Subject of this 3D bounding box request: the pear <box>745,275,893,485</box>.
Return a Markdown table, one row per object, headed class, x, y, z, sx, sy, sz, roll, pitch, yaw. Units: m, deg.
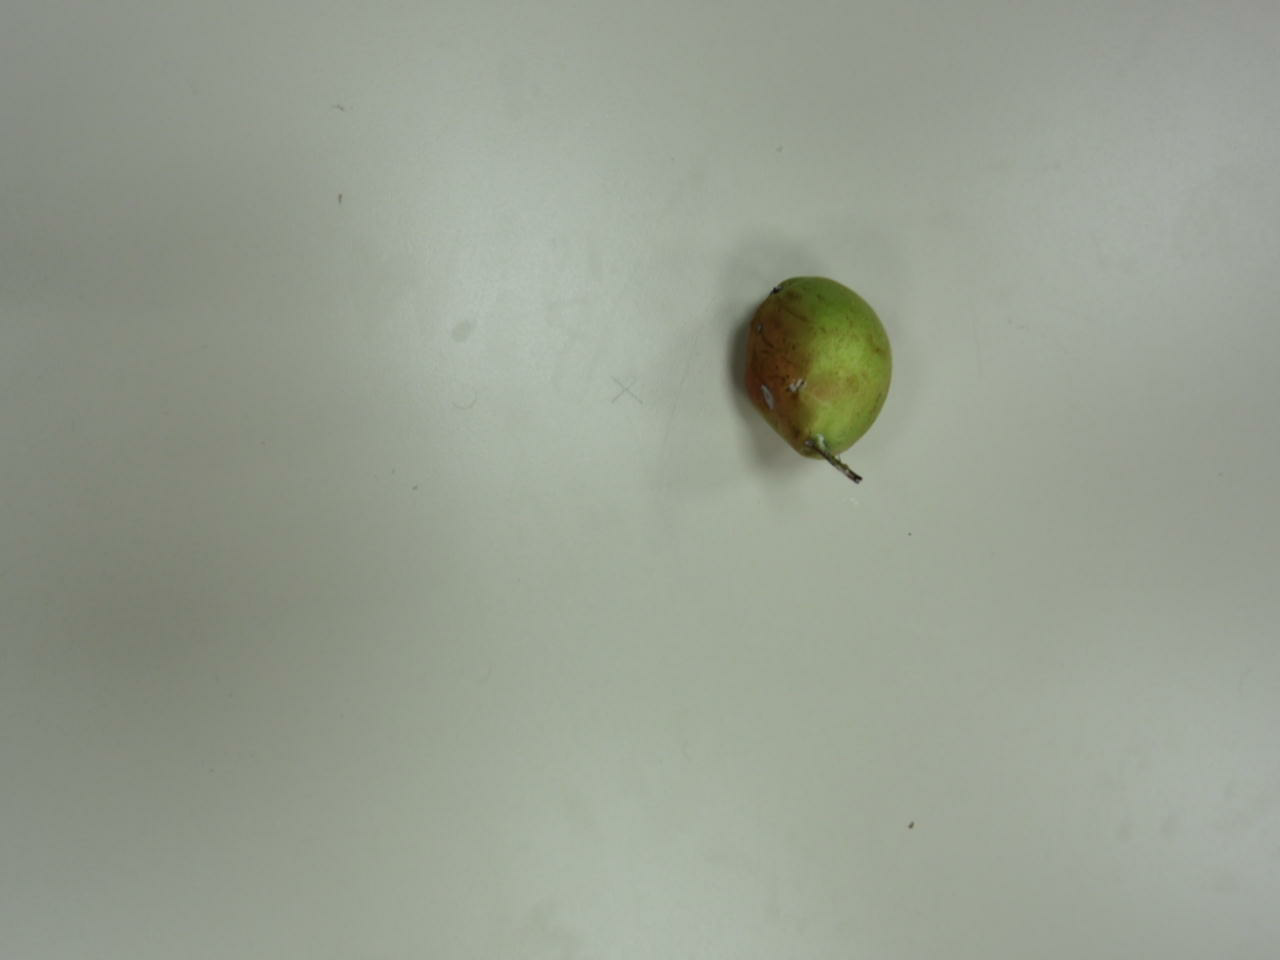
| class | x | y | z | sx | sy | sz | roll | pitch | yaw |
| --- | --- | --- | --- | --- | --- | --- | --- | --- | --- |
| pear | 0.073 | -0.047 | 0.416 | 0.068 | 0.069 | 0.070 | 41 | 83 | -9 |
